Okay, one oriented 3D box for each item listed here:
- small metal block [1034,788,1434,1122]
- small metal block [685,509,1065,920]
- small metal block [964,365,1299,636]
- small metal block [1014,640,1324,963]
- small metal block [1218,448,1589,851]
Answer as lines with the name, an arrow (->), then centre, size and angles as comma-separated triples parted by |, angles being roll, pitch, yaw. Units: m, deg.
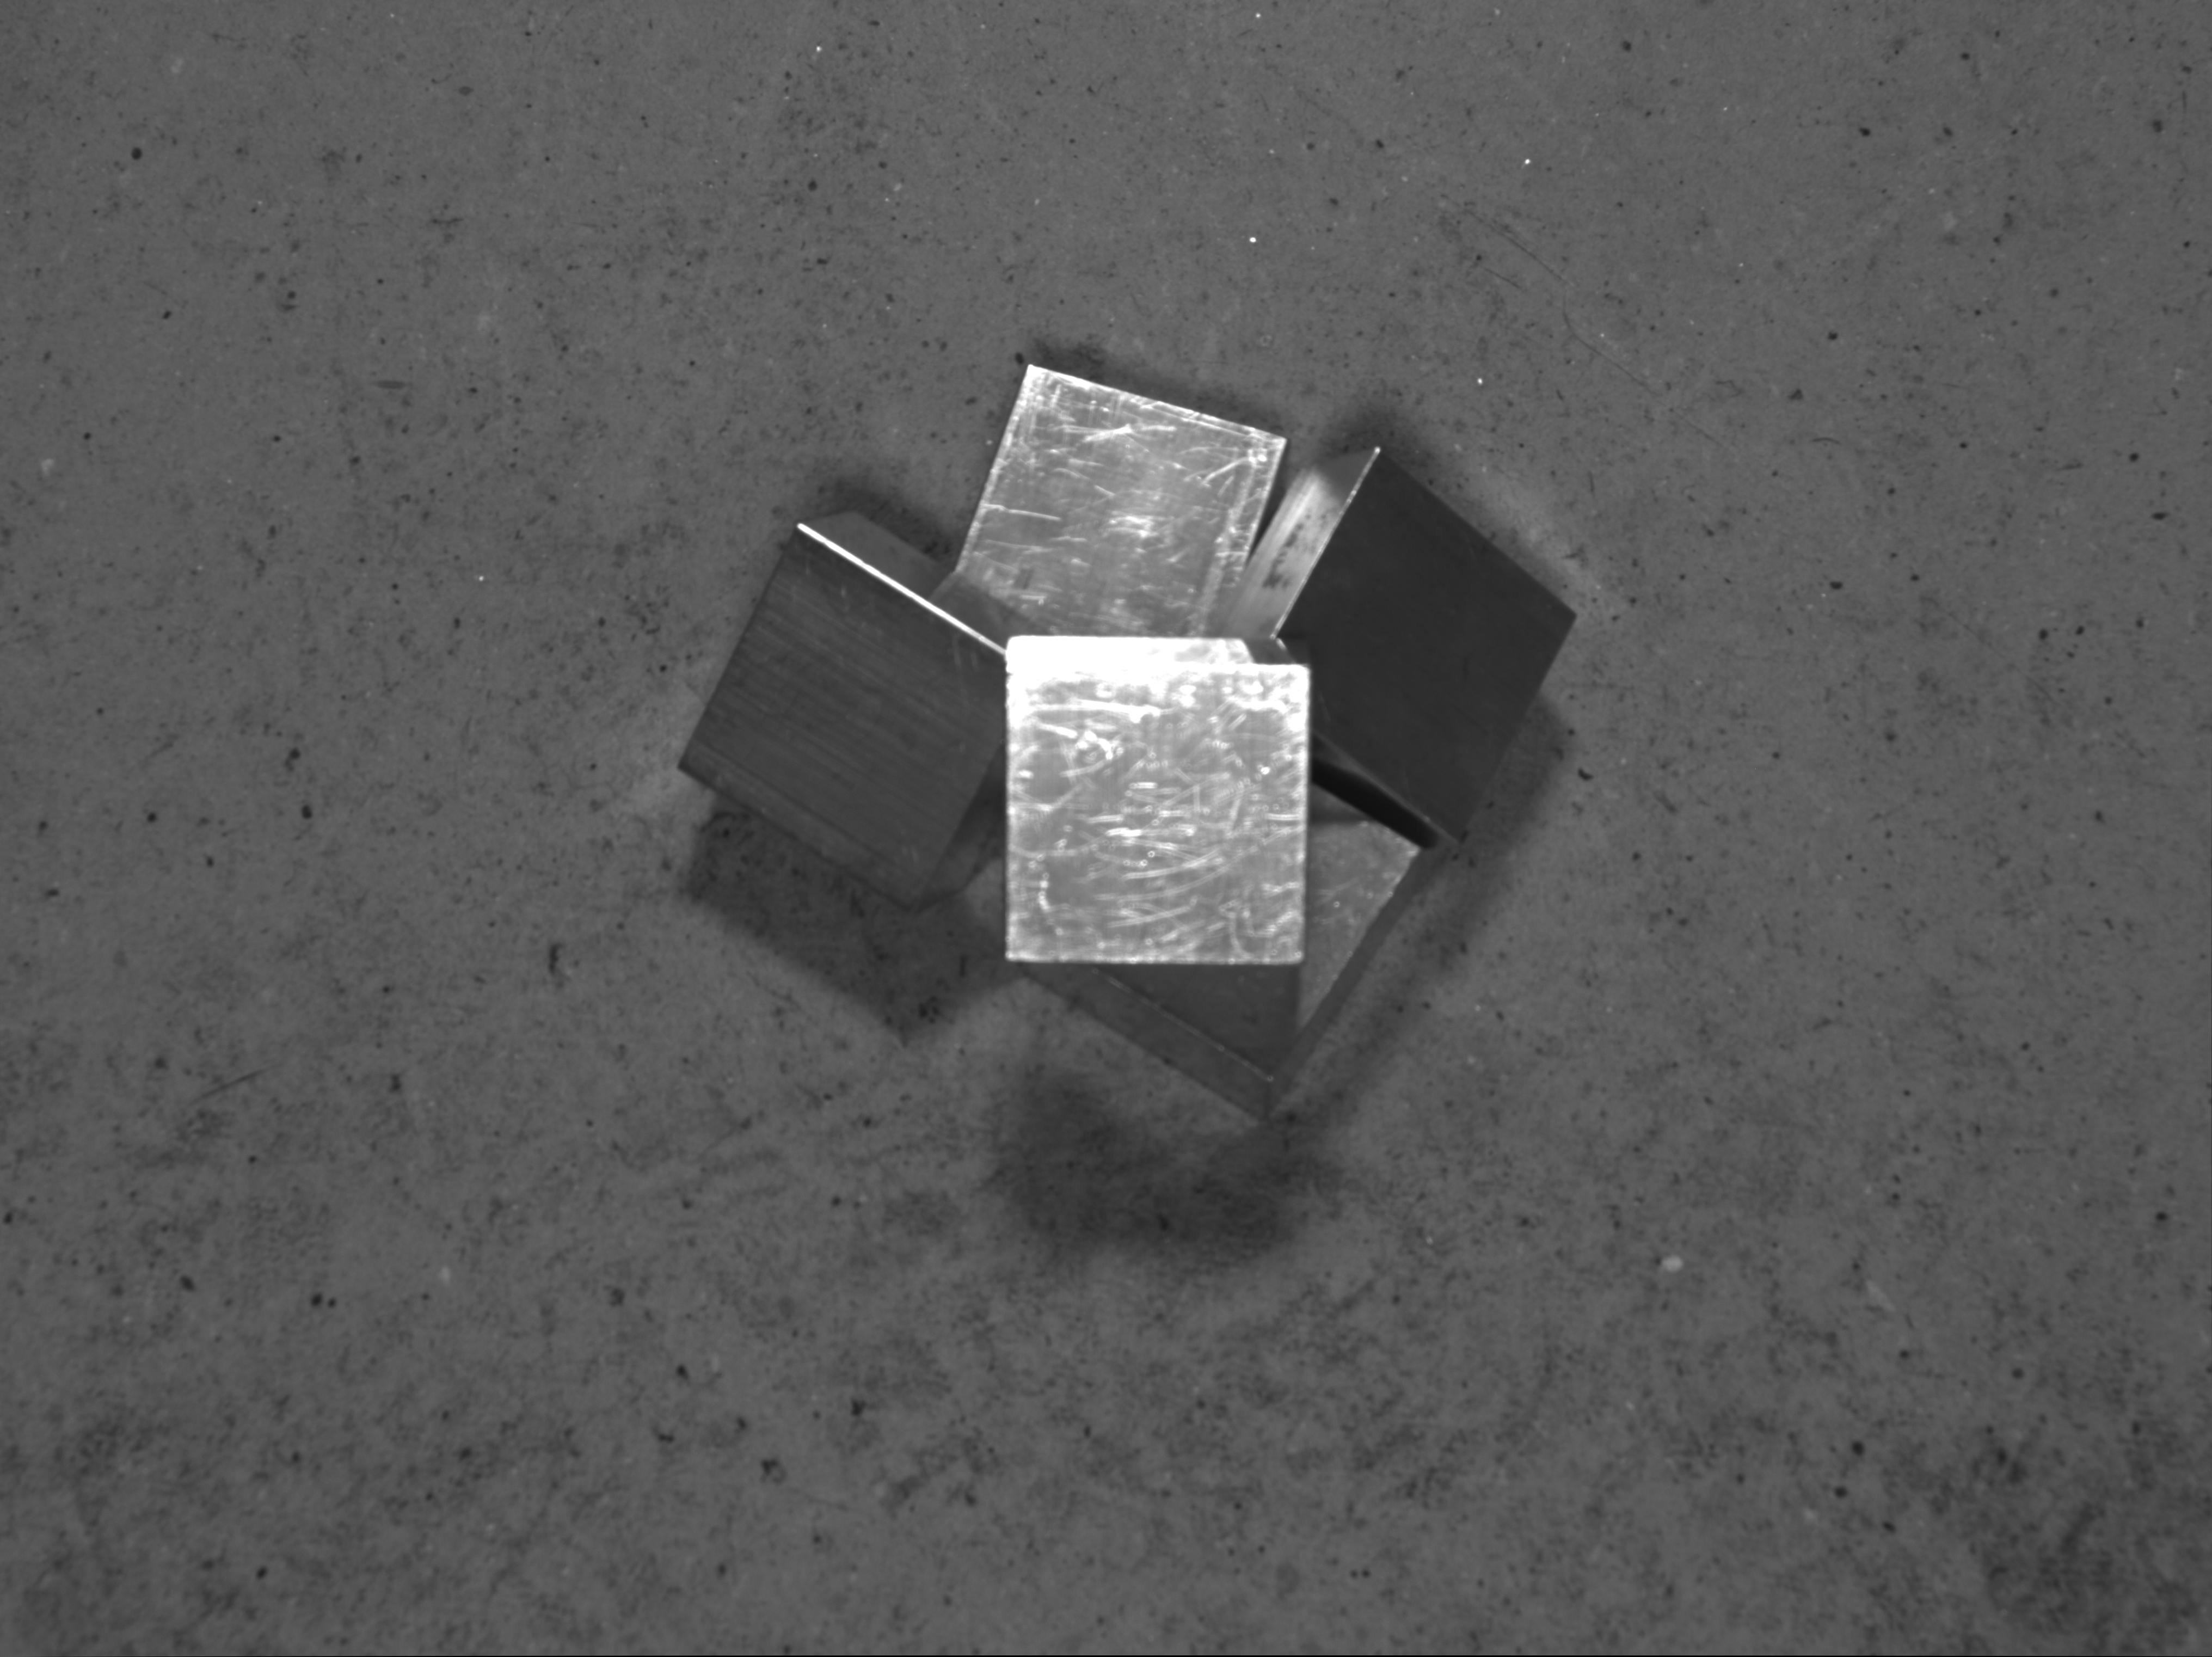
small metal block -> 0.022, 0.015, 0.640 | 0.050, 0.025, 0.050 | 31, 73, 11
small metal block -> -0.038, -0.020, 0.640 | 0.050, 0.025, 0.050 | 32, 109, 10
small metal block -> 0.003, -0.050, 0.664 | 0.050, 0.025, 0.050 | 16, 71, 6
small metal block -> 0.010, -0.005, 0.608 | 0.050, 0.025, 0.050 | 0, 102, 0
small metal block -> 0.050, -0.030, 0.644 | 0.050, 0.025, 0.050 | 37, 71, -22
